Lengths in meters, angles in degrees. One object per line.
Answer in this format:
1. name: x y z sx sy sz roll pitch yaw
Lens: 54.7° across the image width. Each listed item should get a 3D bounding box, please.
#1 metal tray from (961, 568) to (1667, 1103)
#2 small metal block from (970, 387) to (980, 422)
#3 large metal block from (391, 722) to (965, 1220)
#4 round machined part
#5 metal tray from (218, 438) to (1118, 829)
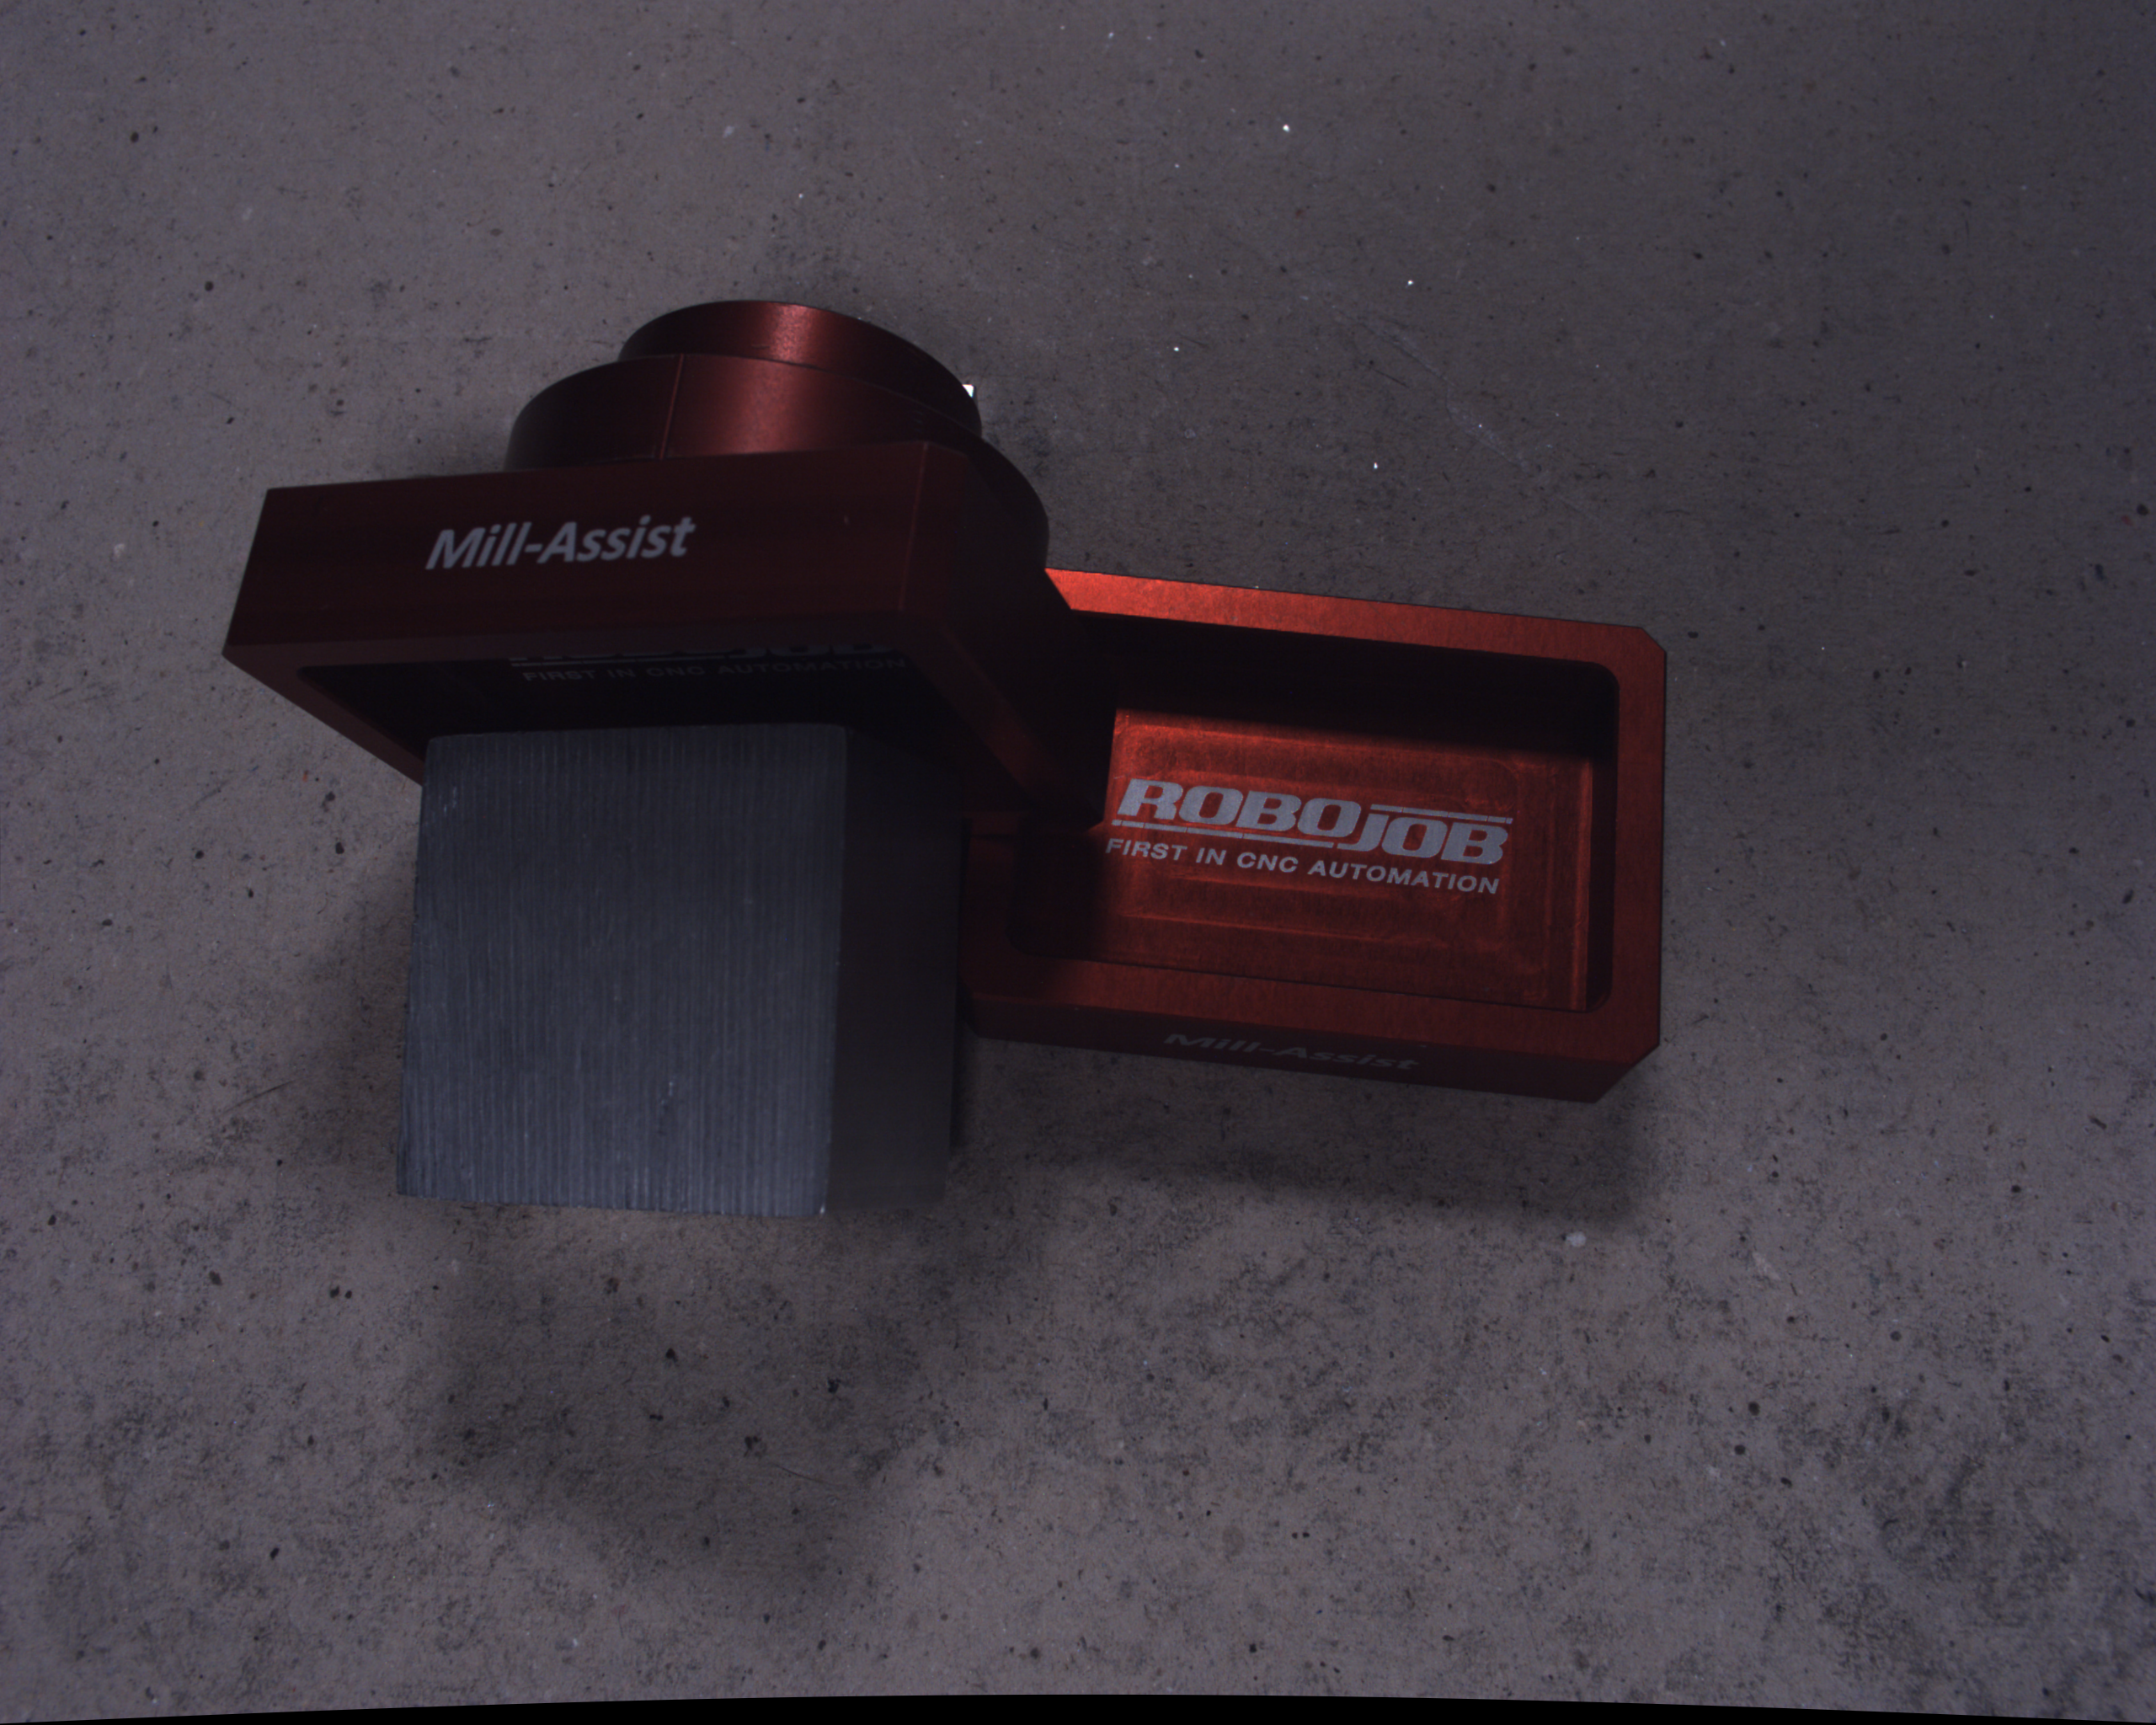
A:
1. metal tray: 0.046 -0.006 0.409 0.131 0.030 0.090 6 70 2
2. small metal block: -0.049 -0.074 0.436 0.050 0.025 0.050 6 70 2
3. large metal block: -0.068 0.020 0.368 0.080 0.050 0.080 0 82 18
4. round machined part: -0.054 -0.066 0.383 0.099 0.098 0.042 6 70 2
5. metal tray: -0.068 -0.035 0.369 0.130 0.090 0.030 0 70 19
